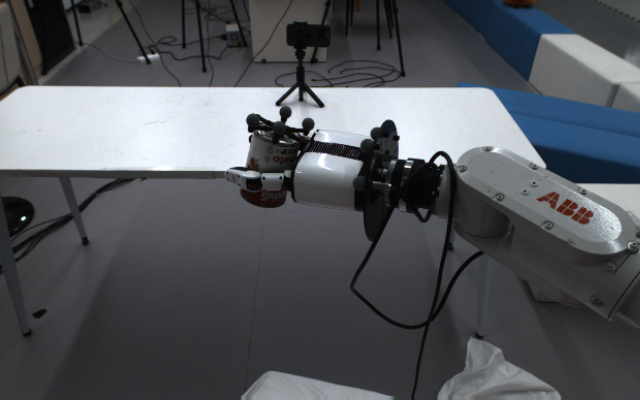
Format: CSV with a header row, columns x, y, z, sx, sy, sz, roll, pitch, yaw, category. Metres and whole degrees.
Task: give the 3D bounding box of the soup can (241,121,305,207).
x,y,z,sx,sy,sz,roll,pitch,yaw,category
-0.069,-0.048,0.672,0.067,0.101,0.067,13,31,-8,soup can
